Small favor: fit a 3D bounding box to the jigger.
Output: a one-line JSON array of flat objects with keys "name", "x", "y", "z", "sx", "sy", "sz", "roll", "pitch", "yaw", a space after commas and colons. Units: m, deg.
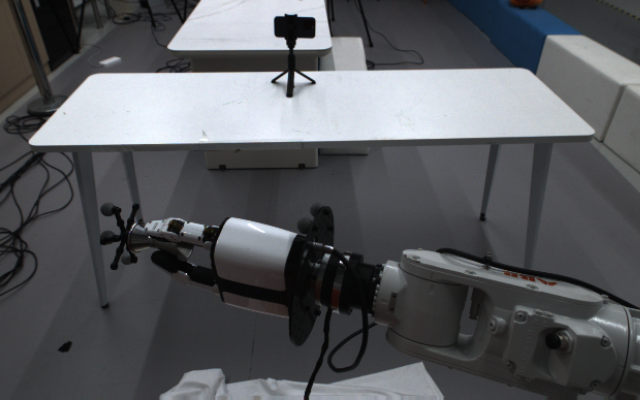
[{"name": "jigger", "x": -0.189, "y": 0.047, "z": 0.603, "sx": 0.071, "sy": 0.043, "sz": 0.043, "roll": 5, "pitch": 35, "yaw": 13}]
